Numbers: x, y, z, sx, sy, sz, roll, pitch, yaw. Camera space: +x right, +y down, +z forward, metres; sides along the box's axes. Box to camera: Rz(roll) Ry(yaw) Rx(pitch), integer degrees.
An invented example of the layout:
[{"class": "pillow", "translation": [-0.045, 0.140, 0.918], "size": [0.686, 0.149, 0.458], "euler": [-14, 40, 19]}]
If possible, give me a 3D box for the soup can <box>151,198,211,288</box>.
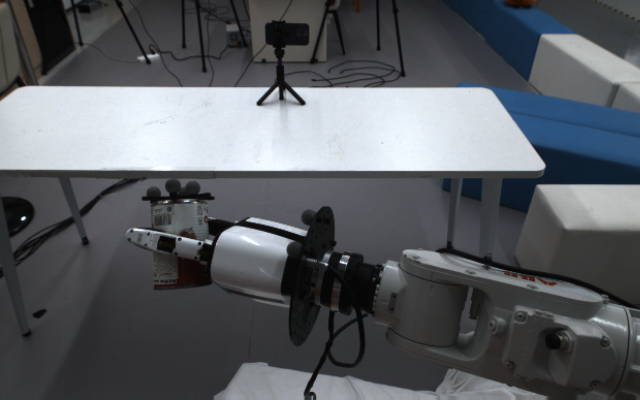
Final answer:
[{"class": "soup can", "translation": [-0.165, 0.055, 0.581], "size": [0.067, 0.101, 0.067], "euler": [-5, -6, 0]}]
